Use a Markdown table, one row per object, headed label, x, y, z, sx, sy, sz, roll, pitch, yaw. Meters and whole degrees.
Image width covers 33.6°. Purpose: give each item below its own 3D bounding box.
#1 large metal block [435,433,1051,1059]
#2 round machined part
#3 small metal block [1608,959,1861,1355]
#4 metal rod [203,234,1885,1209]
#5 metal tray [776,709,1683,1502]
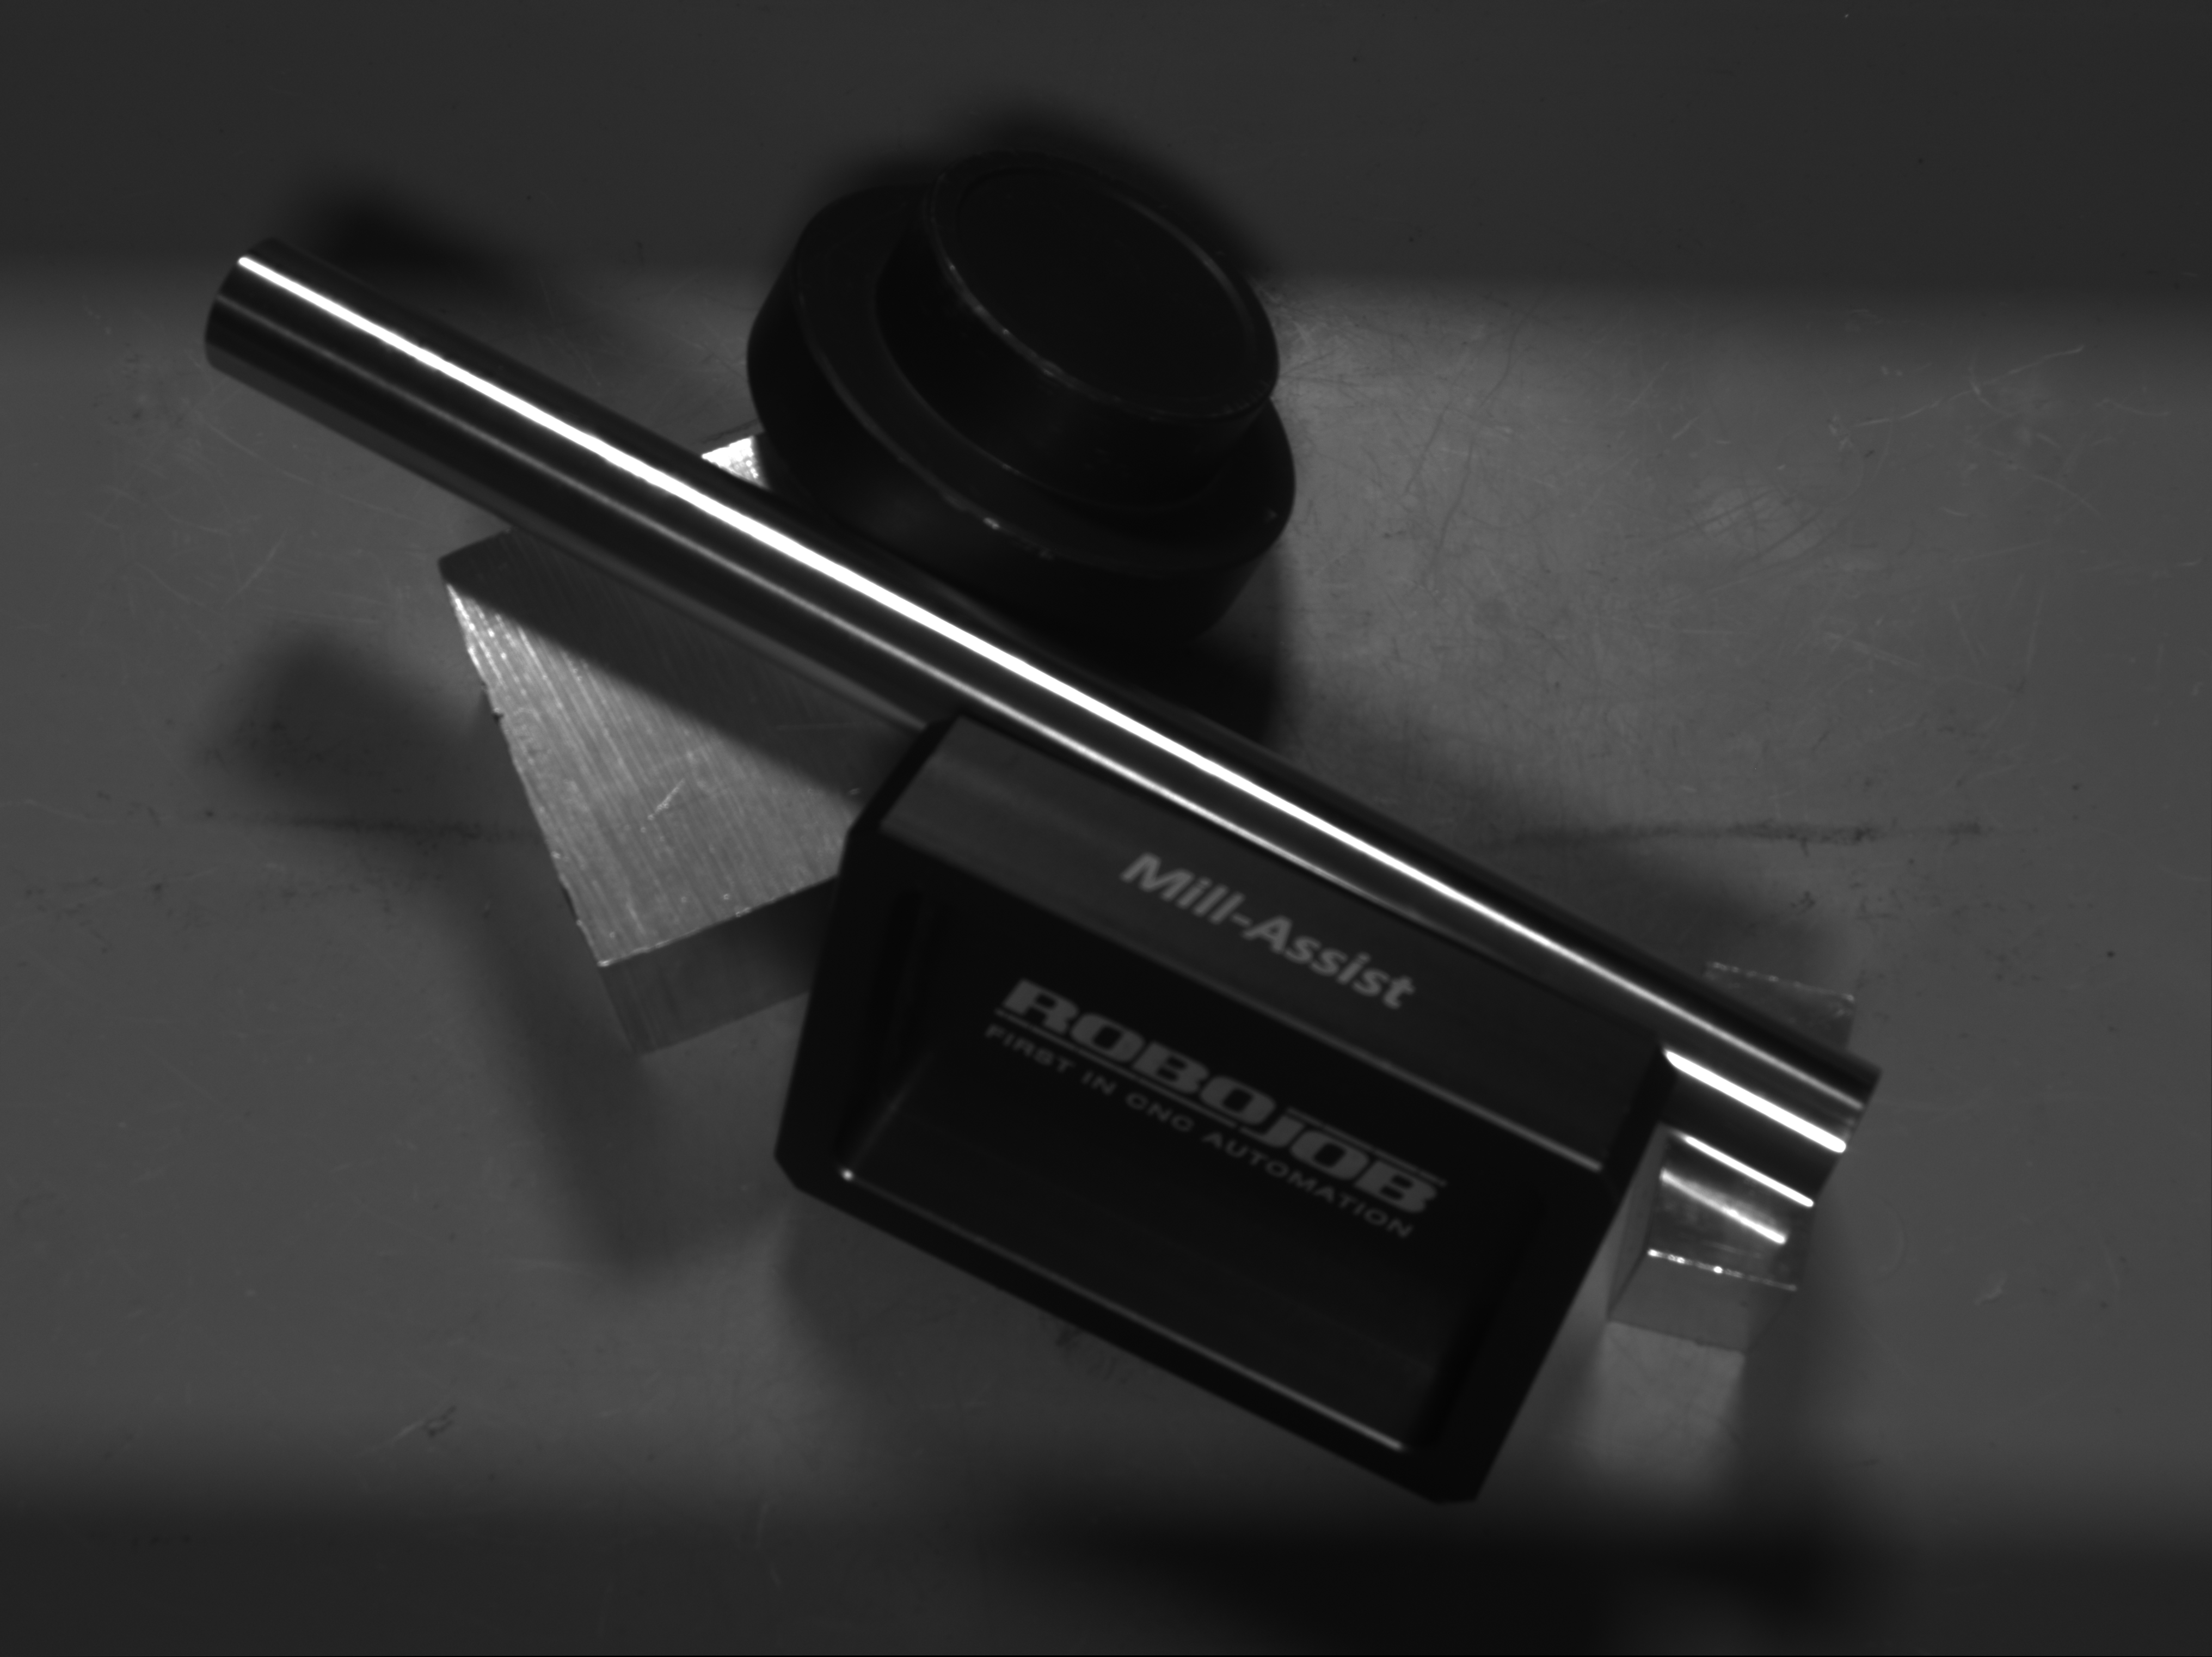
| label | x | y | z | sx | sy | sz | roll | pitch | yaw |
| --- | --- | --- | --- | --- | --- | --- | --- | --- | --- |
| large metal block | -0.061 | -0.017 | 0.636 | 0.080 | 0.050 | 0.080 | -21 | 71 | -8 |
| round machined part | -0.009 | -0.080 | 0.637 | 0.098 | 0.042 | 0.098 | 22 | 39 | -18 |
| small metal block | 0.104 | 0.055 | 0.610 | 0.025 | 0.050 | 0.050 | 14 | 70 | 5 |
| metal rod | -0.015 | -0.021 | 0.597 | 0.300 | 0.025 | 0.025 | 28 | 72 | 10 |
| metal tray | 0.016 | 0.046 | 0.588 | 0.130 | 0.090 | 0.030 | 25 | 44 | 9 |
